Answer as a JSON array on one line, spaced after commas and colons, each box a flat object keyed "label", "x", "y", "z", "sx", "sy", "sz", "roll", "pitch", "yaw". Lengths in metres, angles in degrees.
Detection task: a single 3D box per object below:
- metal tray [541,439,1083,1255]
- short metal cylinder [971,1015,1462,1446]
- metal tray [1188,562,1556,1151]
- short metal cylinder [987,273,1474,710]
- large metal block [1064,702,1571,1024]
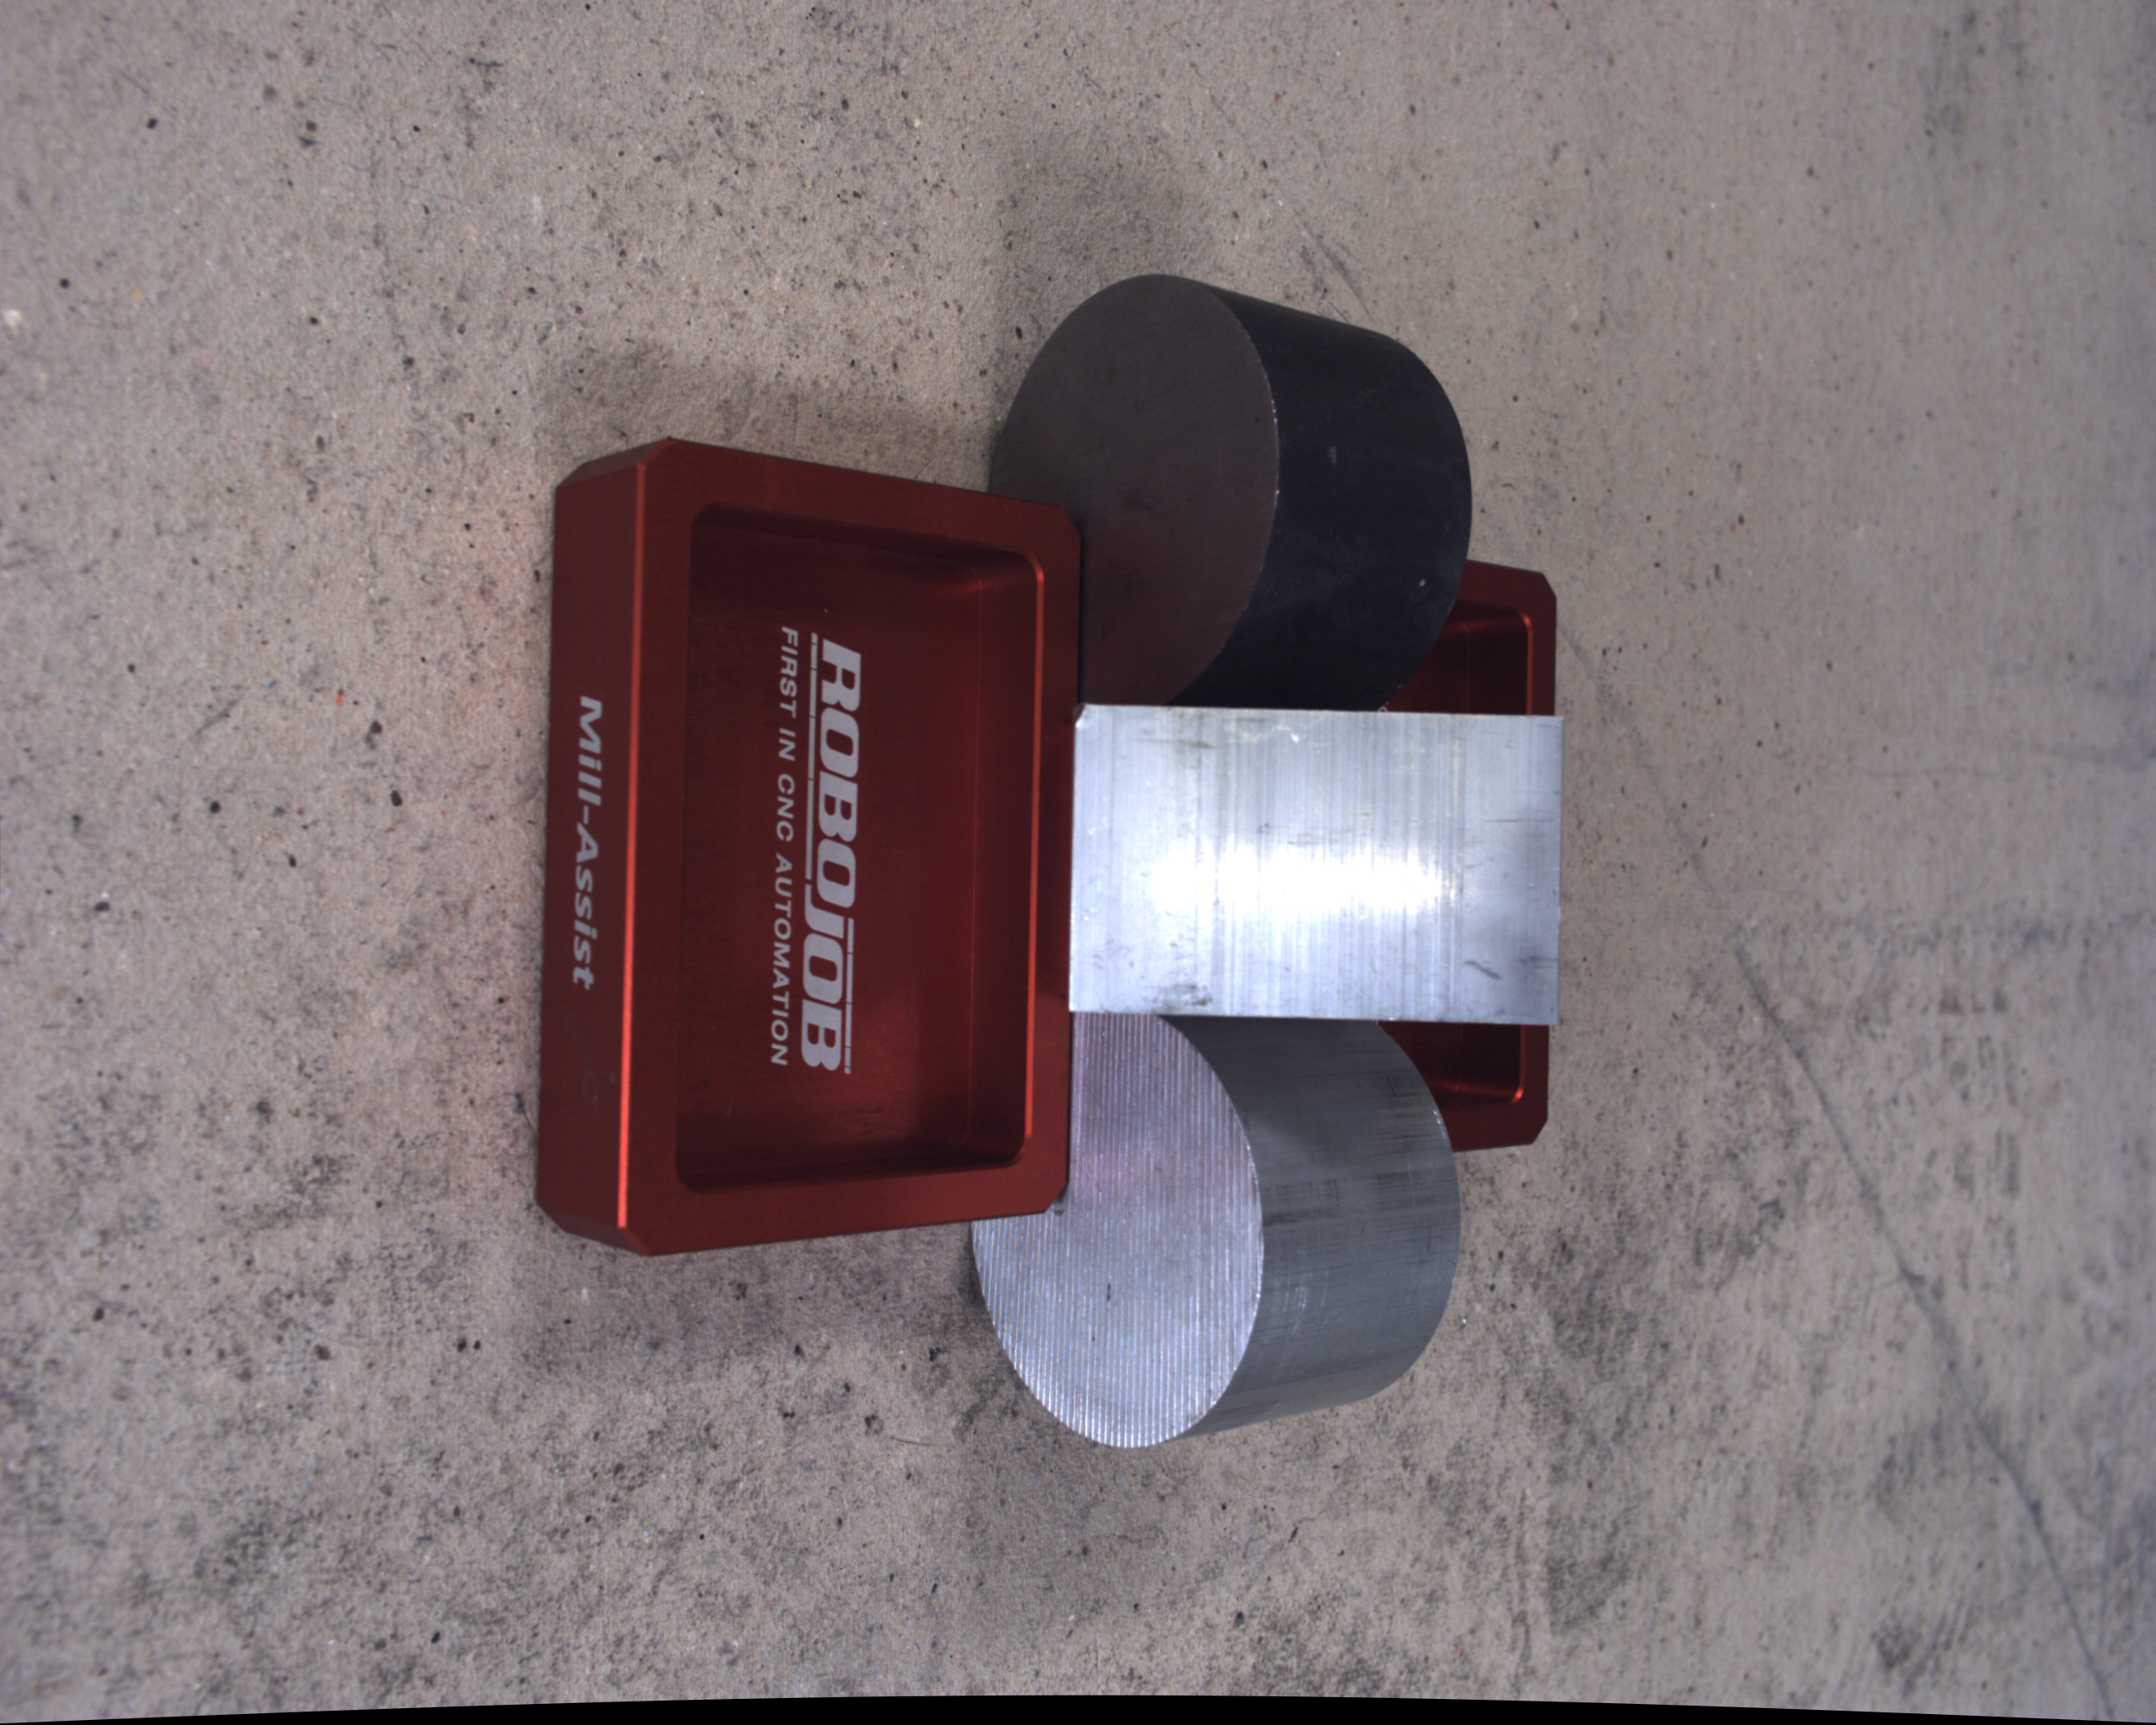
[{"label": "metal tray", "x": -0.044, "y": -0.002, "z": 0.366, "sx": 0.091, "sy": 0.030, "sz": 0.129, "roll": 2, "pitch": 89, "yaw": -40}, {"label": "short metal cylinder", "x": 0.024, "y": 0.065, "z": 0.391, "sx": 0.050, "sy": 0.080, "sz": 0.080, "roll": 3, "pitch": 89, "yaw": -40}, {"label": "metal tray", "x": 0.064, "y": -0.002, "z": 0.457, "sx": 0.091, "sy": 0.030, "sz": 0.129, "roll": 2, "pitch": 89, "yaw": -40}, {"label": "short metal cylinder", "x": 0.027, "y": -0.065, "z": 0.392, "sx": 0.050, "sy": 0.080, "sz": 0.080, "roll": 3, "pitch": 89, "yaw": -40}, {"label": "large metal block", "x": 0.039, "y": 0.000, "z": 0.376, "sx": 0.081, "sy": 0.080, "sz": 0.050, "roll": 2, "pitch": 90, "yaw": 0}]
